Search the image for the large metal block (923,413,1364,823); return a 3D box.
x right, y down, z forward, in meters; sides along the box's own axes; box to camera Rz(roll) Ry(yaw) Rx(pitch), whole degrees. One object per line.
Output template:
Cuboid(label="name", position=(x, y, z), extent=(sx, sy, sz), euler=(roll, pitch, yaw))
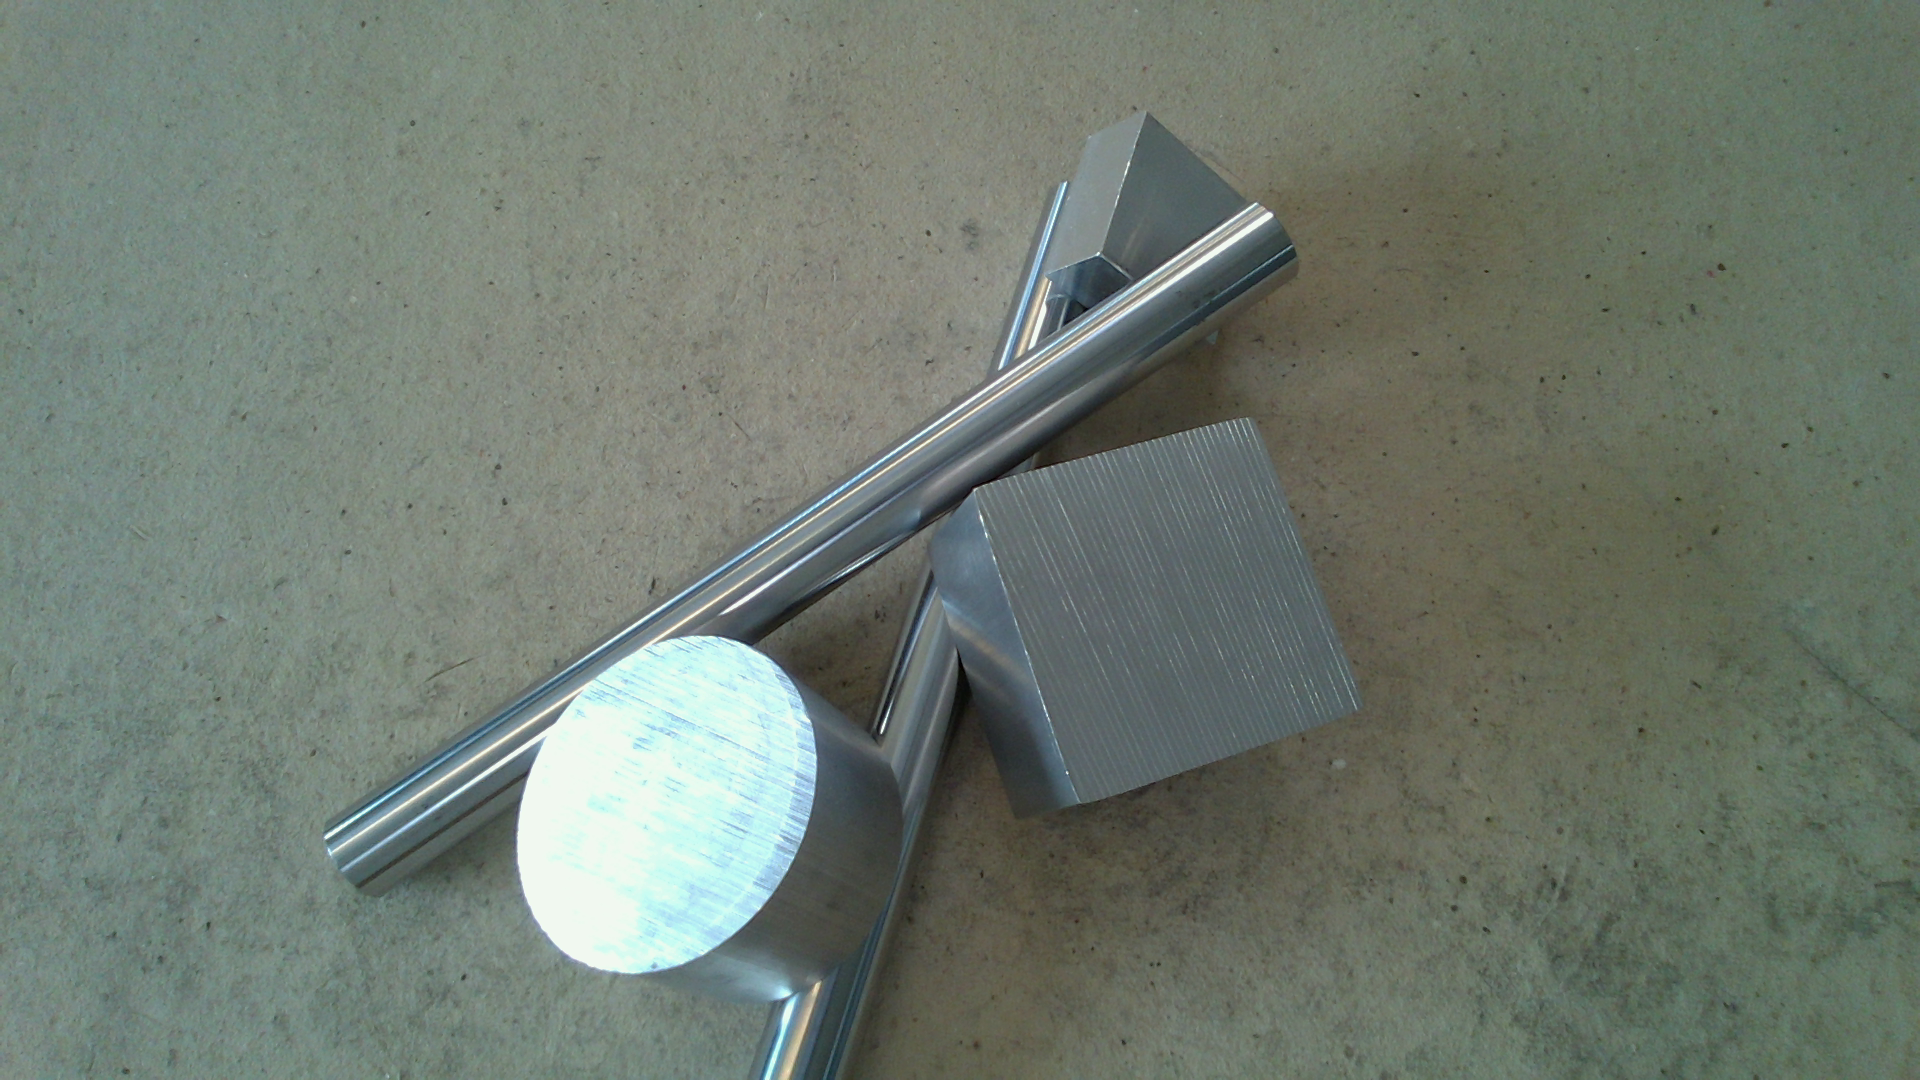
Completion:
Cuboid(label="large metal block", position=(0.045, 0.021, 0.358), extent=(0.080, 0.050, 0.080), euler=(-15, 79, -19))

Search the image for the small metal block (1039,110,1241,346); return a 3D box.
Cuboid(label="small metal block", position=(0.057, -0.091, 0.415), extent=(0.050, 0.025, 0.050), euler=(30, 67, -32))

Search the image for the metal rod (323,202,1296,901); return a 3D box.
Cuboid(label="metal rod", position=(-0.036, 0.000, 0.376), extent=(0.300, 0.025, 0.025), euler=(-34, 73, -5))

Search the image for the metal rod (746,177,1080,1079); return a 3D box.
Cuboid(label="metal rod", position=(-0.005, 0.028, 0.384), extent=(0.025, 0.025, 0.300), euler=(16, 71, 6))

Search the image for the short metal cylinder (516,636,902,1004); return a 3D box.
Cuboid(label="short metal cylinder", position=(-0.061, 0.070, 0.342), extent=(0.080, 0.050, 0.080), euler=(-9, 61, 18))
